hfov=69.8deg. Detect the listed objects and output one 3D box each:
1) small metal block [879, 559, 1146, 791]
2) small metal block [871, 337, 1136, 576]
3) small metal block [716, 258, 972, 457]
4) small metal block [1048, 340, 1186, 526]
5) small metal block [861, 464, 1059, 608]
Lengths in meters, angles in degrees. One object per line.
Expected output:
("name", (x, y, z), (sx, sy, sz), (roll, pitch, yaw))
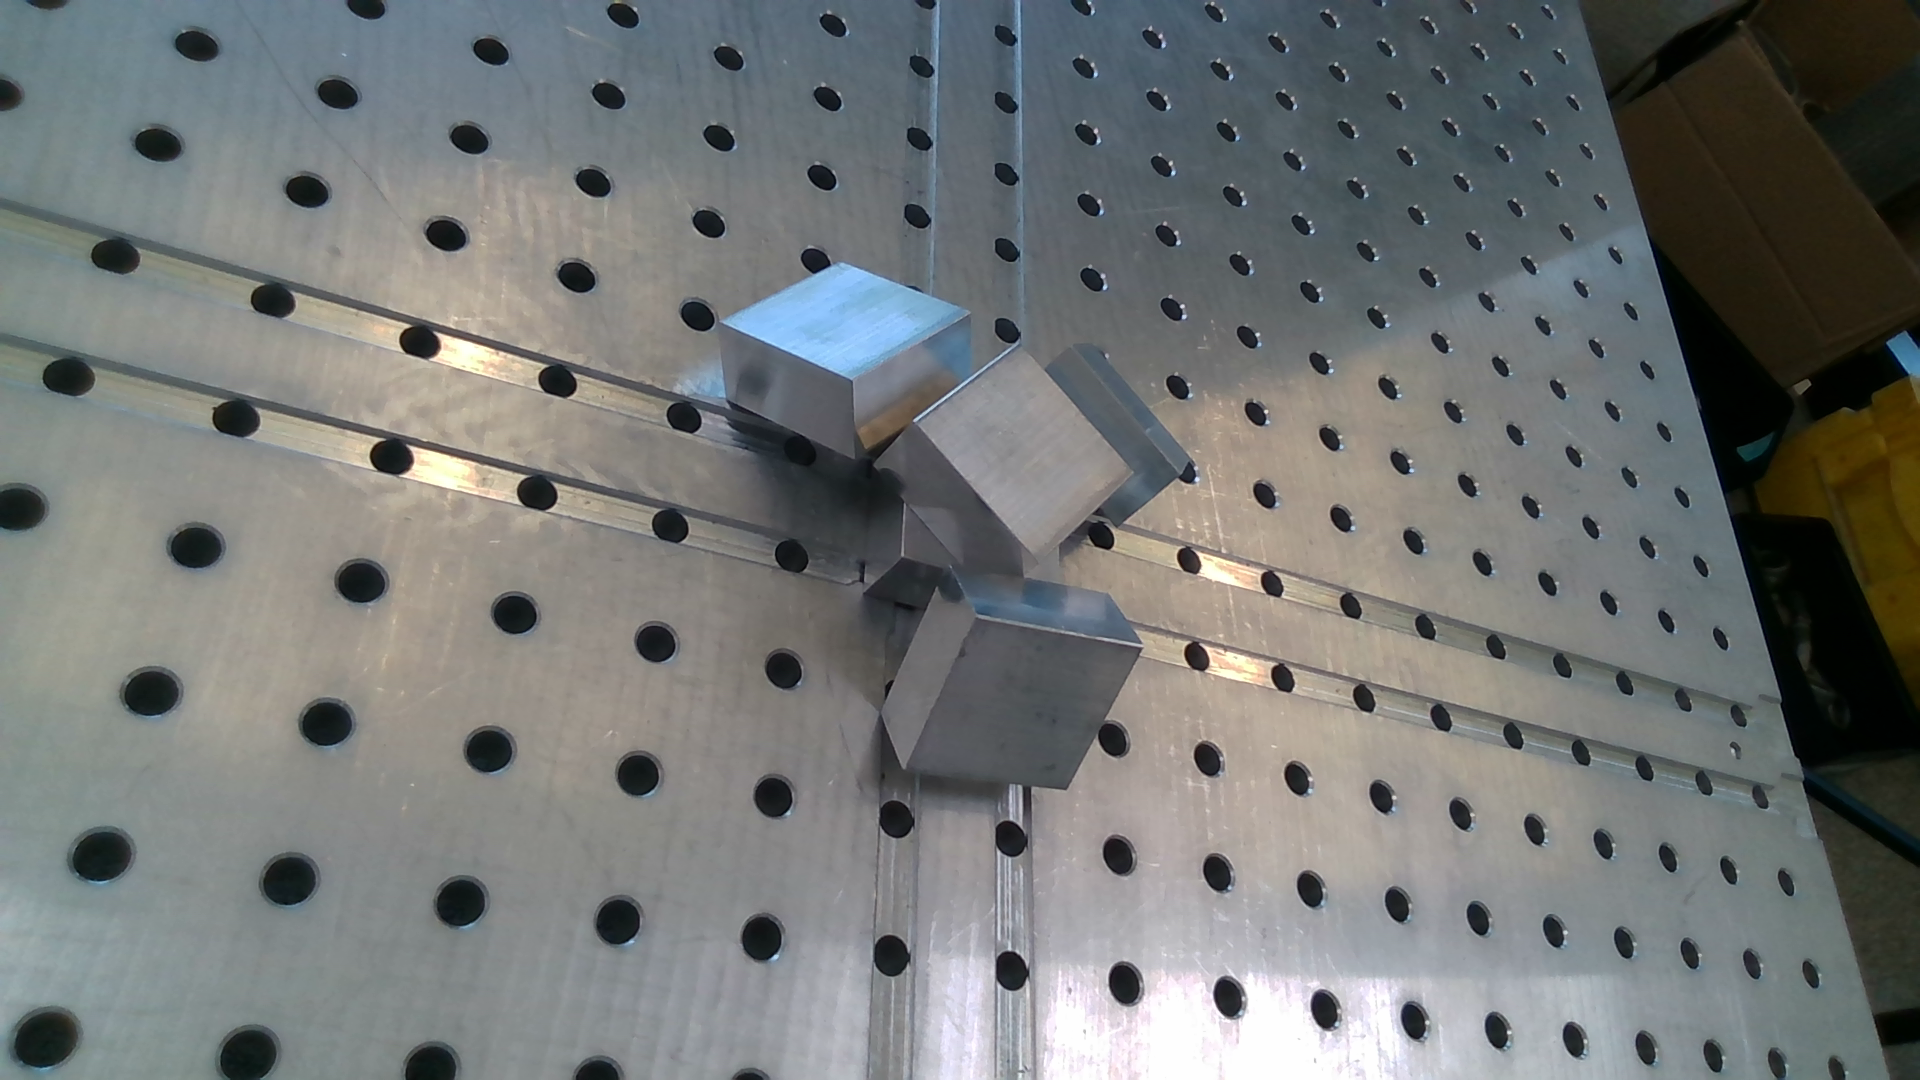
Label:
("small metal block", (0.013, 0.037, 0.365), (0.050, 0.050, 0.025), (12, 27, -26))
("small metal block", (0.013, -0.020, 0.382), (0.050, 0.025, 0.050), (49, 51, -1))
("small metal block", (-0.032, -0.053, 0.388), (0.050, 0.025, 0.050), (25, 43, 30))
("small metal block", (0.044, -0.035, 0.426), (0.050, 0.025, 0.050), (50, 15, 1))
("small metal block", (0.000, -0.006, 0.400), (0.050, 0.025, 0.050), (14, 59, -22))
